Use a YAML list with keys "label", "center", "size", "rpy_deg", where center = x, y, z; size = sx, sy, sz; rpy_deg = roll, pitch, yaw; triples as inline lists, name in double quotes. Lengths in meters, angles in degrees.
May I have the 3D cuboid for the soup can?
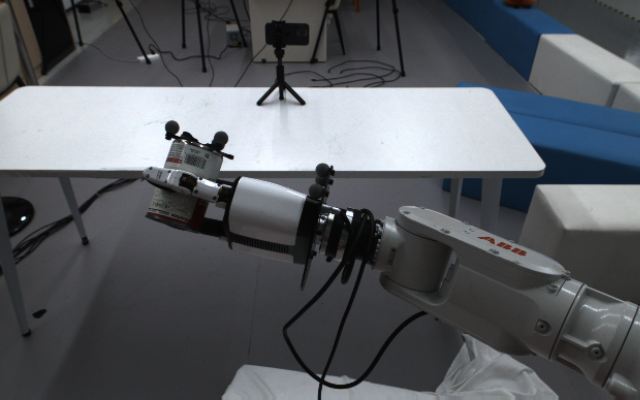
- label: "soup can"
  center: [-0.167, -0.015, 0.605]
  size: [0.067, 0.067, 0.101]
  rpy_deg: [13, 78, 15]
